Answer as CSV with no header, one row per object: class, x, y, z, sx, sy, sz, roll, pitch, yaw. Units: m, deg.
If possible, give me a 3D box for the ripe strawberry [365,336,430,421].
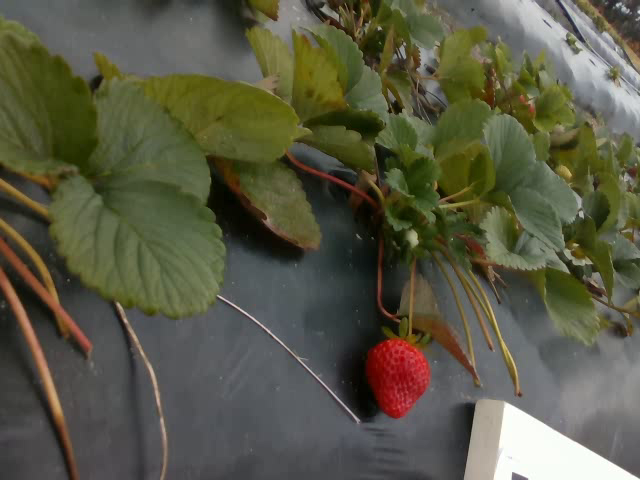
ripe strawberry,0.029,0.050,0.217,0.023,0.032,0.028,-15,-52,45
